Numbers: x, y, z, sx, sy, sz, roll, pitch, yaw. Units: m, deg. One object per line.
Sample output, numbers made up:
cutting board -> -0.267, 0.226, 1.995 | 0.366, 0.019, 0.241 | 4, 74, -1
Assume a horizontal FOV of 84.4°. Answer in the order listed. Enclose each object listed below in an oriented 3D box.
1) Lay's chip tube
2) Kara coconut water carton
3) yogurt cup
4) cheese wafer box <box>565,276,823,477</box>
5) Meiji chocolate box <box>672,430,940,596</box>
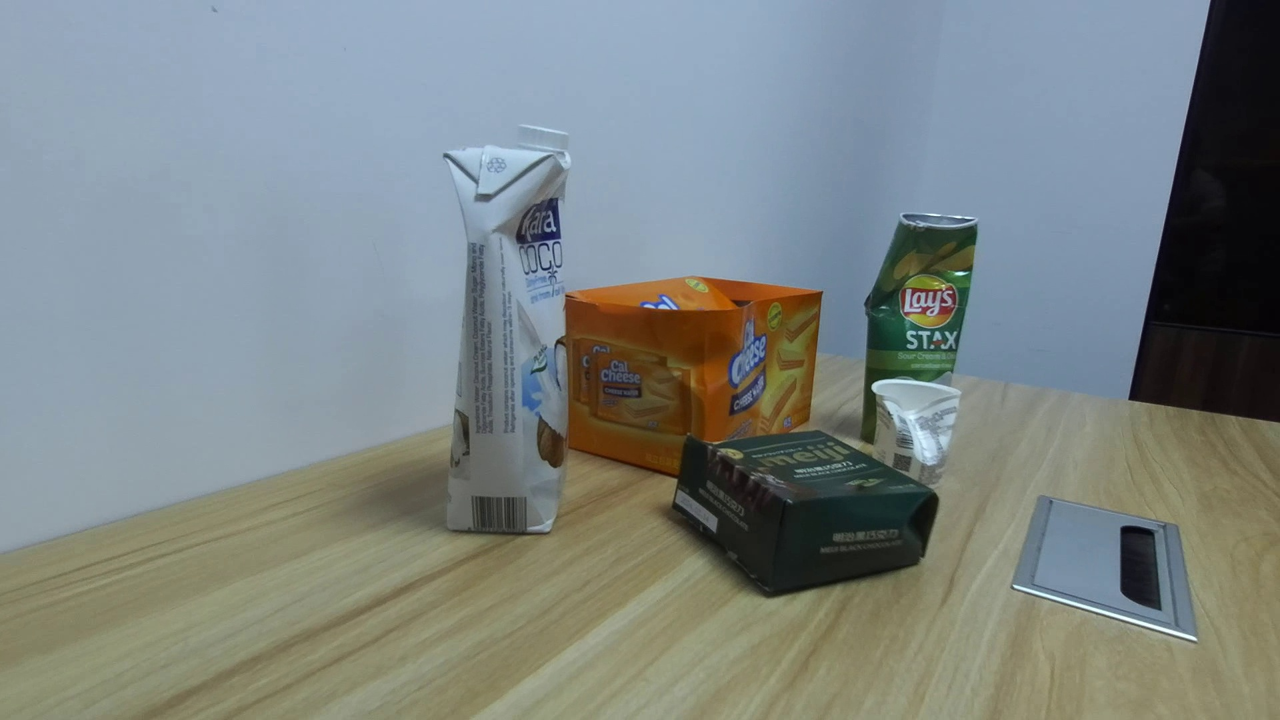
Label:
Lay's chip tube -> 0.239, -0.024, 0.613 | 0.069, 0.201, 0.077 | 12, 19, 34
Kara coconut water carton -> -0.076, -0.018, 0.426 | 0.069, 0.238, 0.115 | 4, 13, -1
yogurt cup -> 0.206, 0.056, 0.538 | 0.067, 0.070, 0.067 | 0, 13, 0
cheese wafer box -> 0.049, 0.004, 0.612 | 0.151, 0.132, 0.231 | 13, 15, 32
Meiji chocolate box -> 0.096, 0.085, 0.425 | 0.116, 0.058, 0.122 | 0, 13, -27
